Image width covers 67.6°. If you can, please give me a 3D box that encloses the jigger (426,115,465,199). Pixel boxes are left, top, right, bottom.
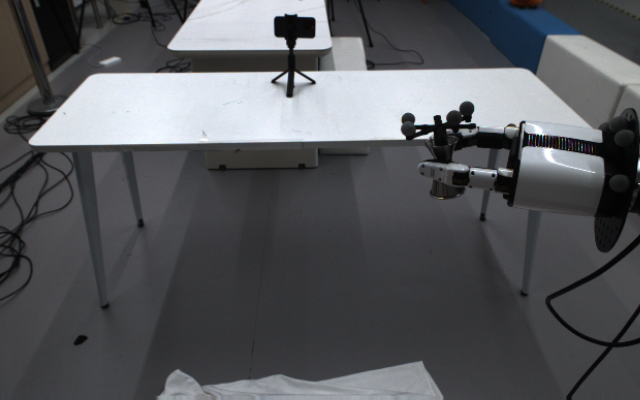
[{"bbox_3d":[0.152,-0.041,0.595,0.043,0.071,0.043,-11,24,5],"label":"jigger"}]
